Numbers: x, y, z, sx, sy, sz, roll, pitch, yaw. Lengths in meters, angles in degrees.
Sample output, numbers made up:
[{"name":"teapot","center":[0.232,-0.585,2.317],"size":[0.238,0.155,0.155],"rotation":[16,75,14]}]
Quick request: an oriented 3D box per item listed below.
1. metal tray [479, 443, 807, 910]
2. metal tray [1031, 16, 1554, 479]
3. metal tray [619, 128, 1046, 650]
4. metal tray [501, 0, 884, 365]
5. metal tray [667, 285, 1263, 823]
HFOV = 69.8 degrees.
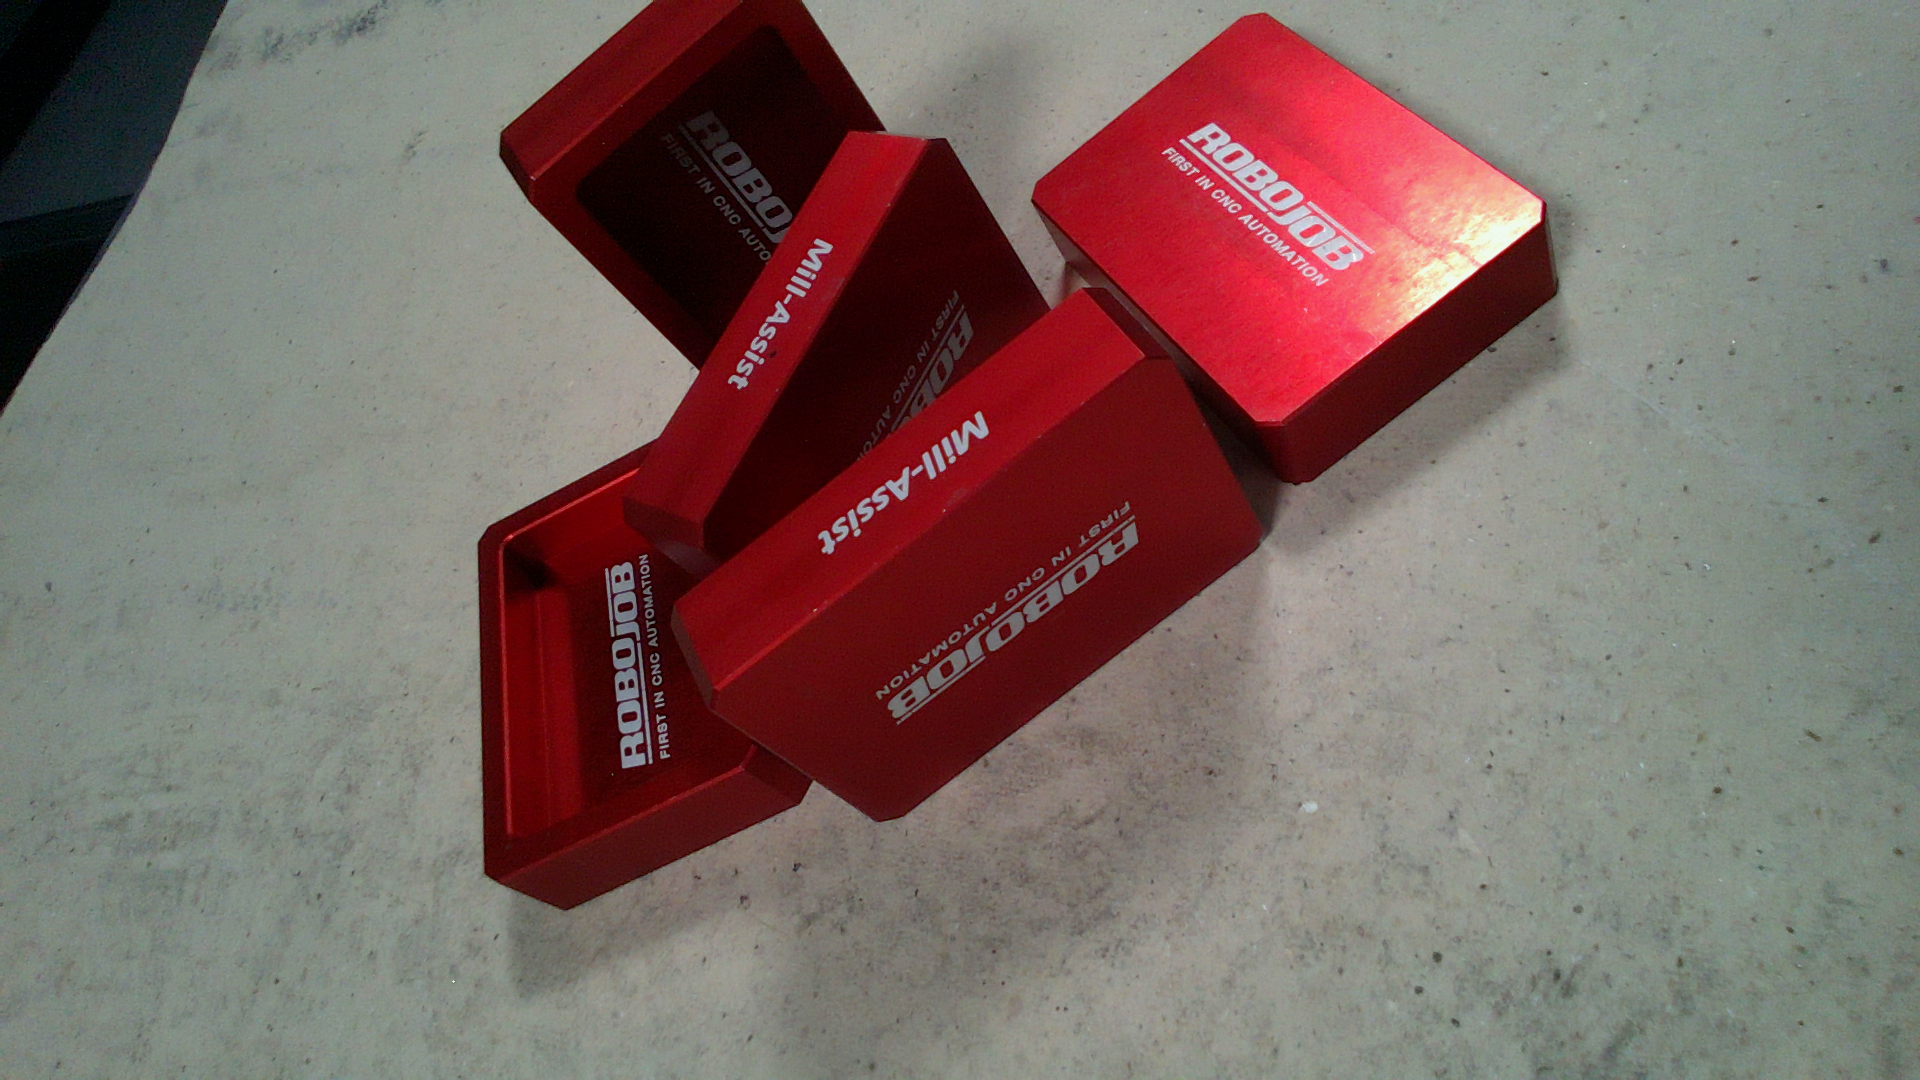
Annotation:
[{"name":"metal tray","center":[-0.102,0.035,0.424],"size":[0.090,0.030,0.130],"rotation":[-26,52,12]},{"name":"metal tray","center":[0.090,-0.088,0.396],"size":[0.090,0.030,0.130],"rotation":[-38,51,3]},{"name":"metal tray","center":[-0.028,-0.038,0.390],"size":[0.030,0.090,0.130],"rotation":[17,71,35]},{"name":"metal tray","center":[-0.061,-0.099,0.420],"size":[0.090,0.130,0.030],"rotation":[-40,51,1]},{"name":"metal tray","center":[0.005,0.008,0.343],"size":[0.130,0.090,0.030],"rotation":[-38,51,3]}]
